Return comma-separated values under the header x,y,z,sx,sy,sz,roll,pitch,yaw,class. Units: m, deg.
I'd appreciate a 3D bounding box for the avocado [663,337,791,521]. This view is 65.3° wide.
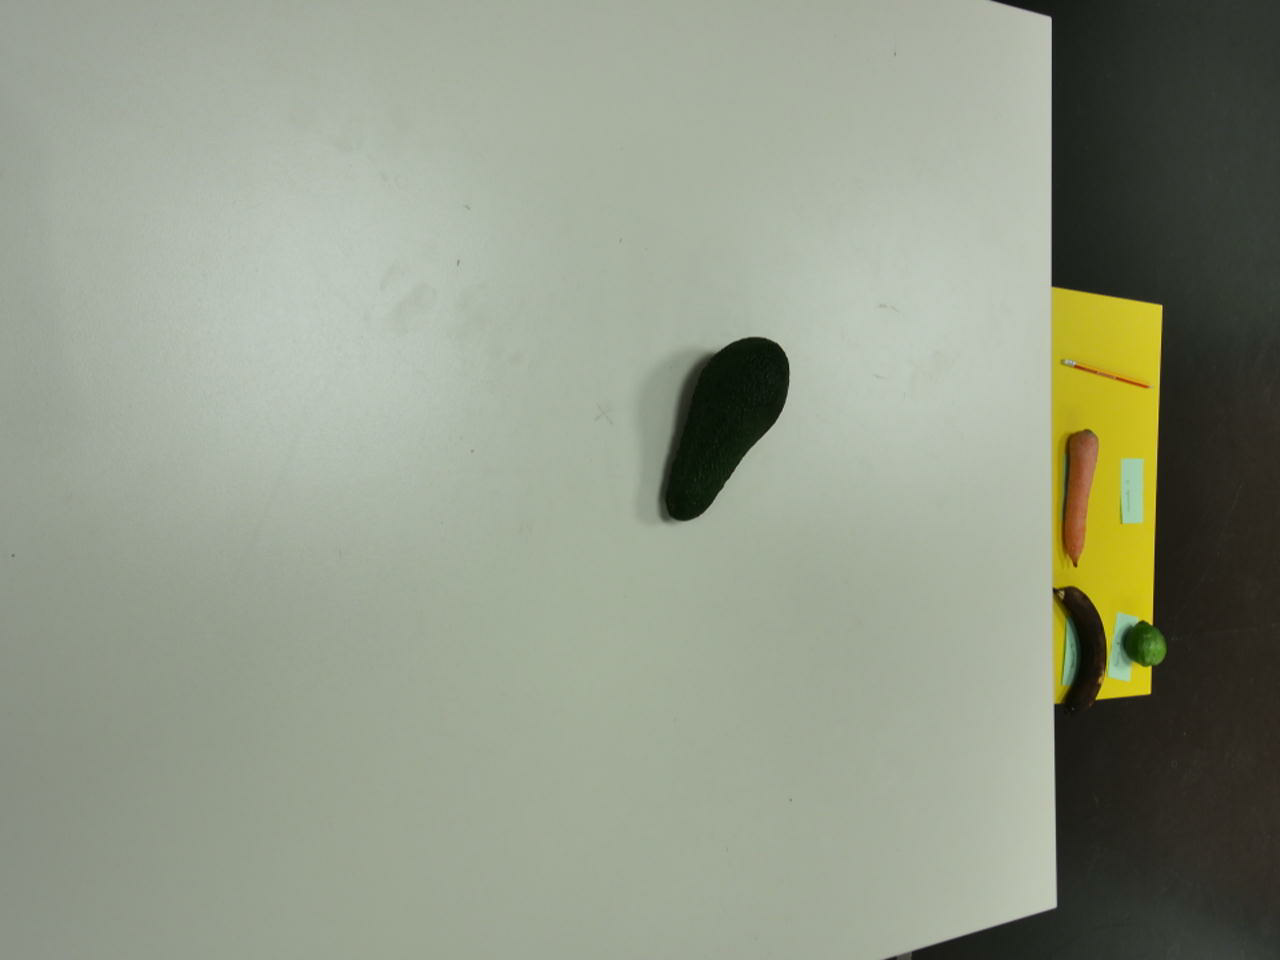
x,y,z,sx,sy,sz,roll,pitch,yaw,class
0.065,-0.033,0.697,0.063,0.067,0.141,16,83,-27,avocado
